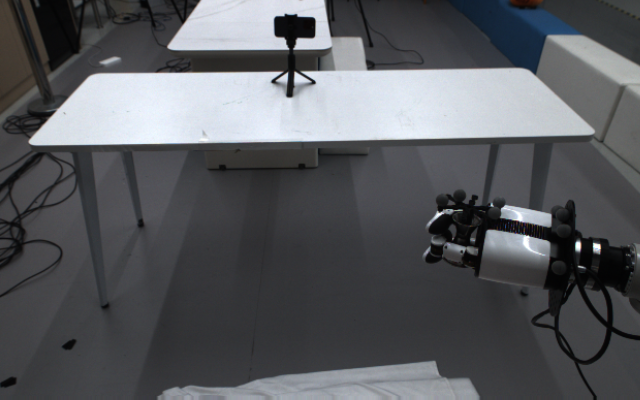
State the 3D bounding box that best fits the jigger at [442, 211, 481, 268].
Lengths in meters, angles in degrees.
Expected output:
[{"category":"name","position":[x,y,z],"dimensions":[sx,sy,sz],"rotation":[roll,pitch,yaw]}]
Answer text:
[{"category":"jigger","position":[0.208,0.056,0.697],"dimensions":[0.043,0.071,0.043],"rotation":[3,25,-1]}]
